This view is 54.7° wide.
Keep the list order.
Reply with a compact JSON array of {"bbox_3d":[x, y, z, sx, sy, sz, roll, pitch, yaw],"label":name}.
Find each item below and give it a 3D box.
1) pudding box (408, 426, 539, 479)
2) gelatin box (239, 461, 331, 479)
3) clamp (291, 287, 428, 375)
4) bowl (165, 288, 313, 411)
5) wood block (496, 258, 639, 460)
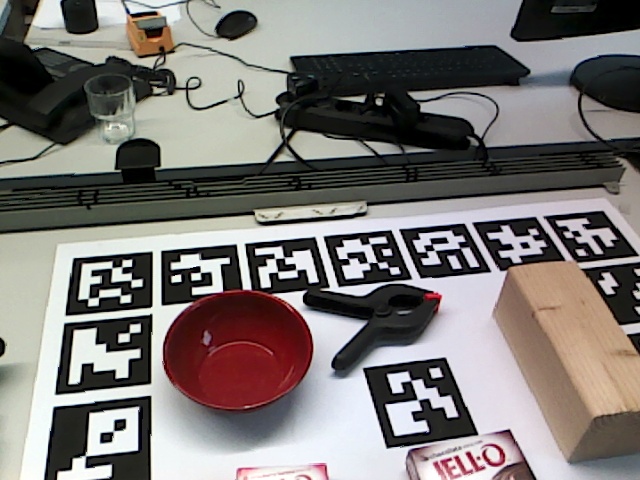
[{"bbox_3d":[0.152,0.238,0.601,0.113,0.038,0.090,-7,48,-9],"label":"pudding box"},{"bbox_3d":[-0.033,0.248,0.580,0.089,0.030,0.073,0,44,-4],"label":"gelatin box"},{"bbox_3d":[0.060,0.097,0.761,0.164,0.036,0.122,-12,44,-19],"label":"clamp"},{"bbox_3d":[-0.090,0.132,0.696,0.161,0.055,0.162,3,45,-3],"label":"bowl"},{"bbox_3d":[0.287,0.126,0.694,0.090,0.091,0.207,-3,43,-9],"label":"wood block"}]
